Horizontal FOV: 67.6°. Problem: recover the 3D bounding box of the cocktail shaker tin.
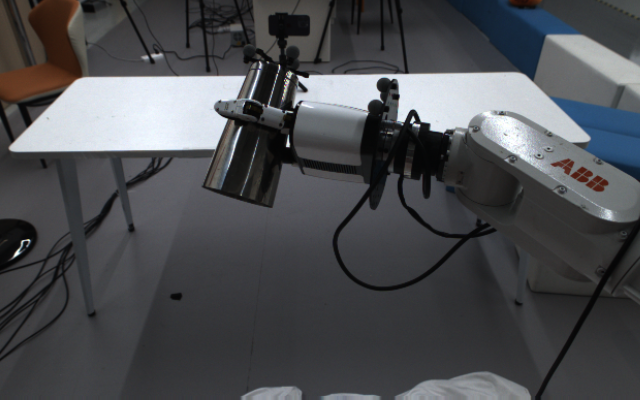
[{"bbox_3d":[-0.083,-0.085,0.618,0.093,0.170,0.093,16,-7,2],"label":"cocktail shaker tin"}]
